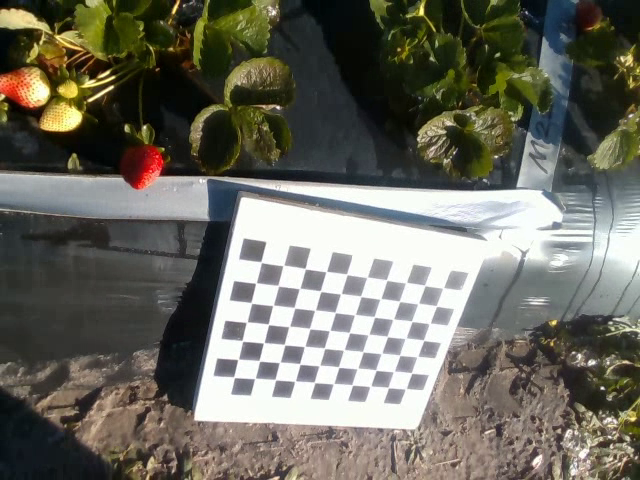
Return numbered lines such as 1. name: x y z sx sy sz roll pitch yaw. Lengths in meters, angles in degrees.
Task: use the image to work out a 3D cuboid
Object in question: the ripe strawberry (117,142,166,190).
1. ripe strawberry: -0.133 -0.052 0.385 0.036 0.038 0.046 8 35 -14
